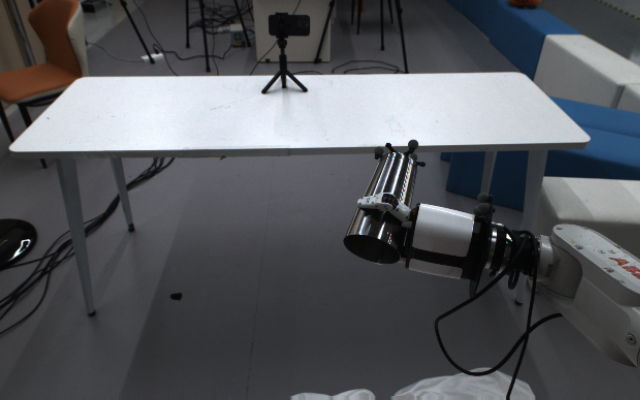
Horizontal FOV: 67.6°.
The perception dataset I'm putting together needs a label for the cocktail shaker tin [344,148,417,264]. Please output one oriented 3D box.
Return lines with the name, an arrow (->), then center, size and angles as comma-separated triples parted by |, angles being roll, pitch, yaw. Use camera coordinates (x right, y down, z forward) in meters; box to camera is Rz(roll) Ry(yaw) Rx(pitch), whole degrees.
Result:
cocktail shaker tin -> 0.105, 0.008, 0.789 | 0.093, 0.093, 0.170 | 14, 61, 16
